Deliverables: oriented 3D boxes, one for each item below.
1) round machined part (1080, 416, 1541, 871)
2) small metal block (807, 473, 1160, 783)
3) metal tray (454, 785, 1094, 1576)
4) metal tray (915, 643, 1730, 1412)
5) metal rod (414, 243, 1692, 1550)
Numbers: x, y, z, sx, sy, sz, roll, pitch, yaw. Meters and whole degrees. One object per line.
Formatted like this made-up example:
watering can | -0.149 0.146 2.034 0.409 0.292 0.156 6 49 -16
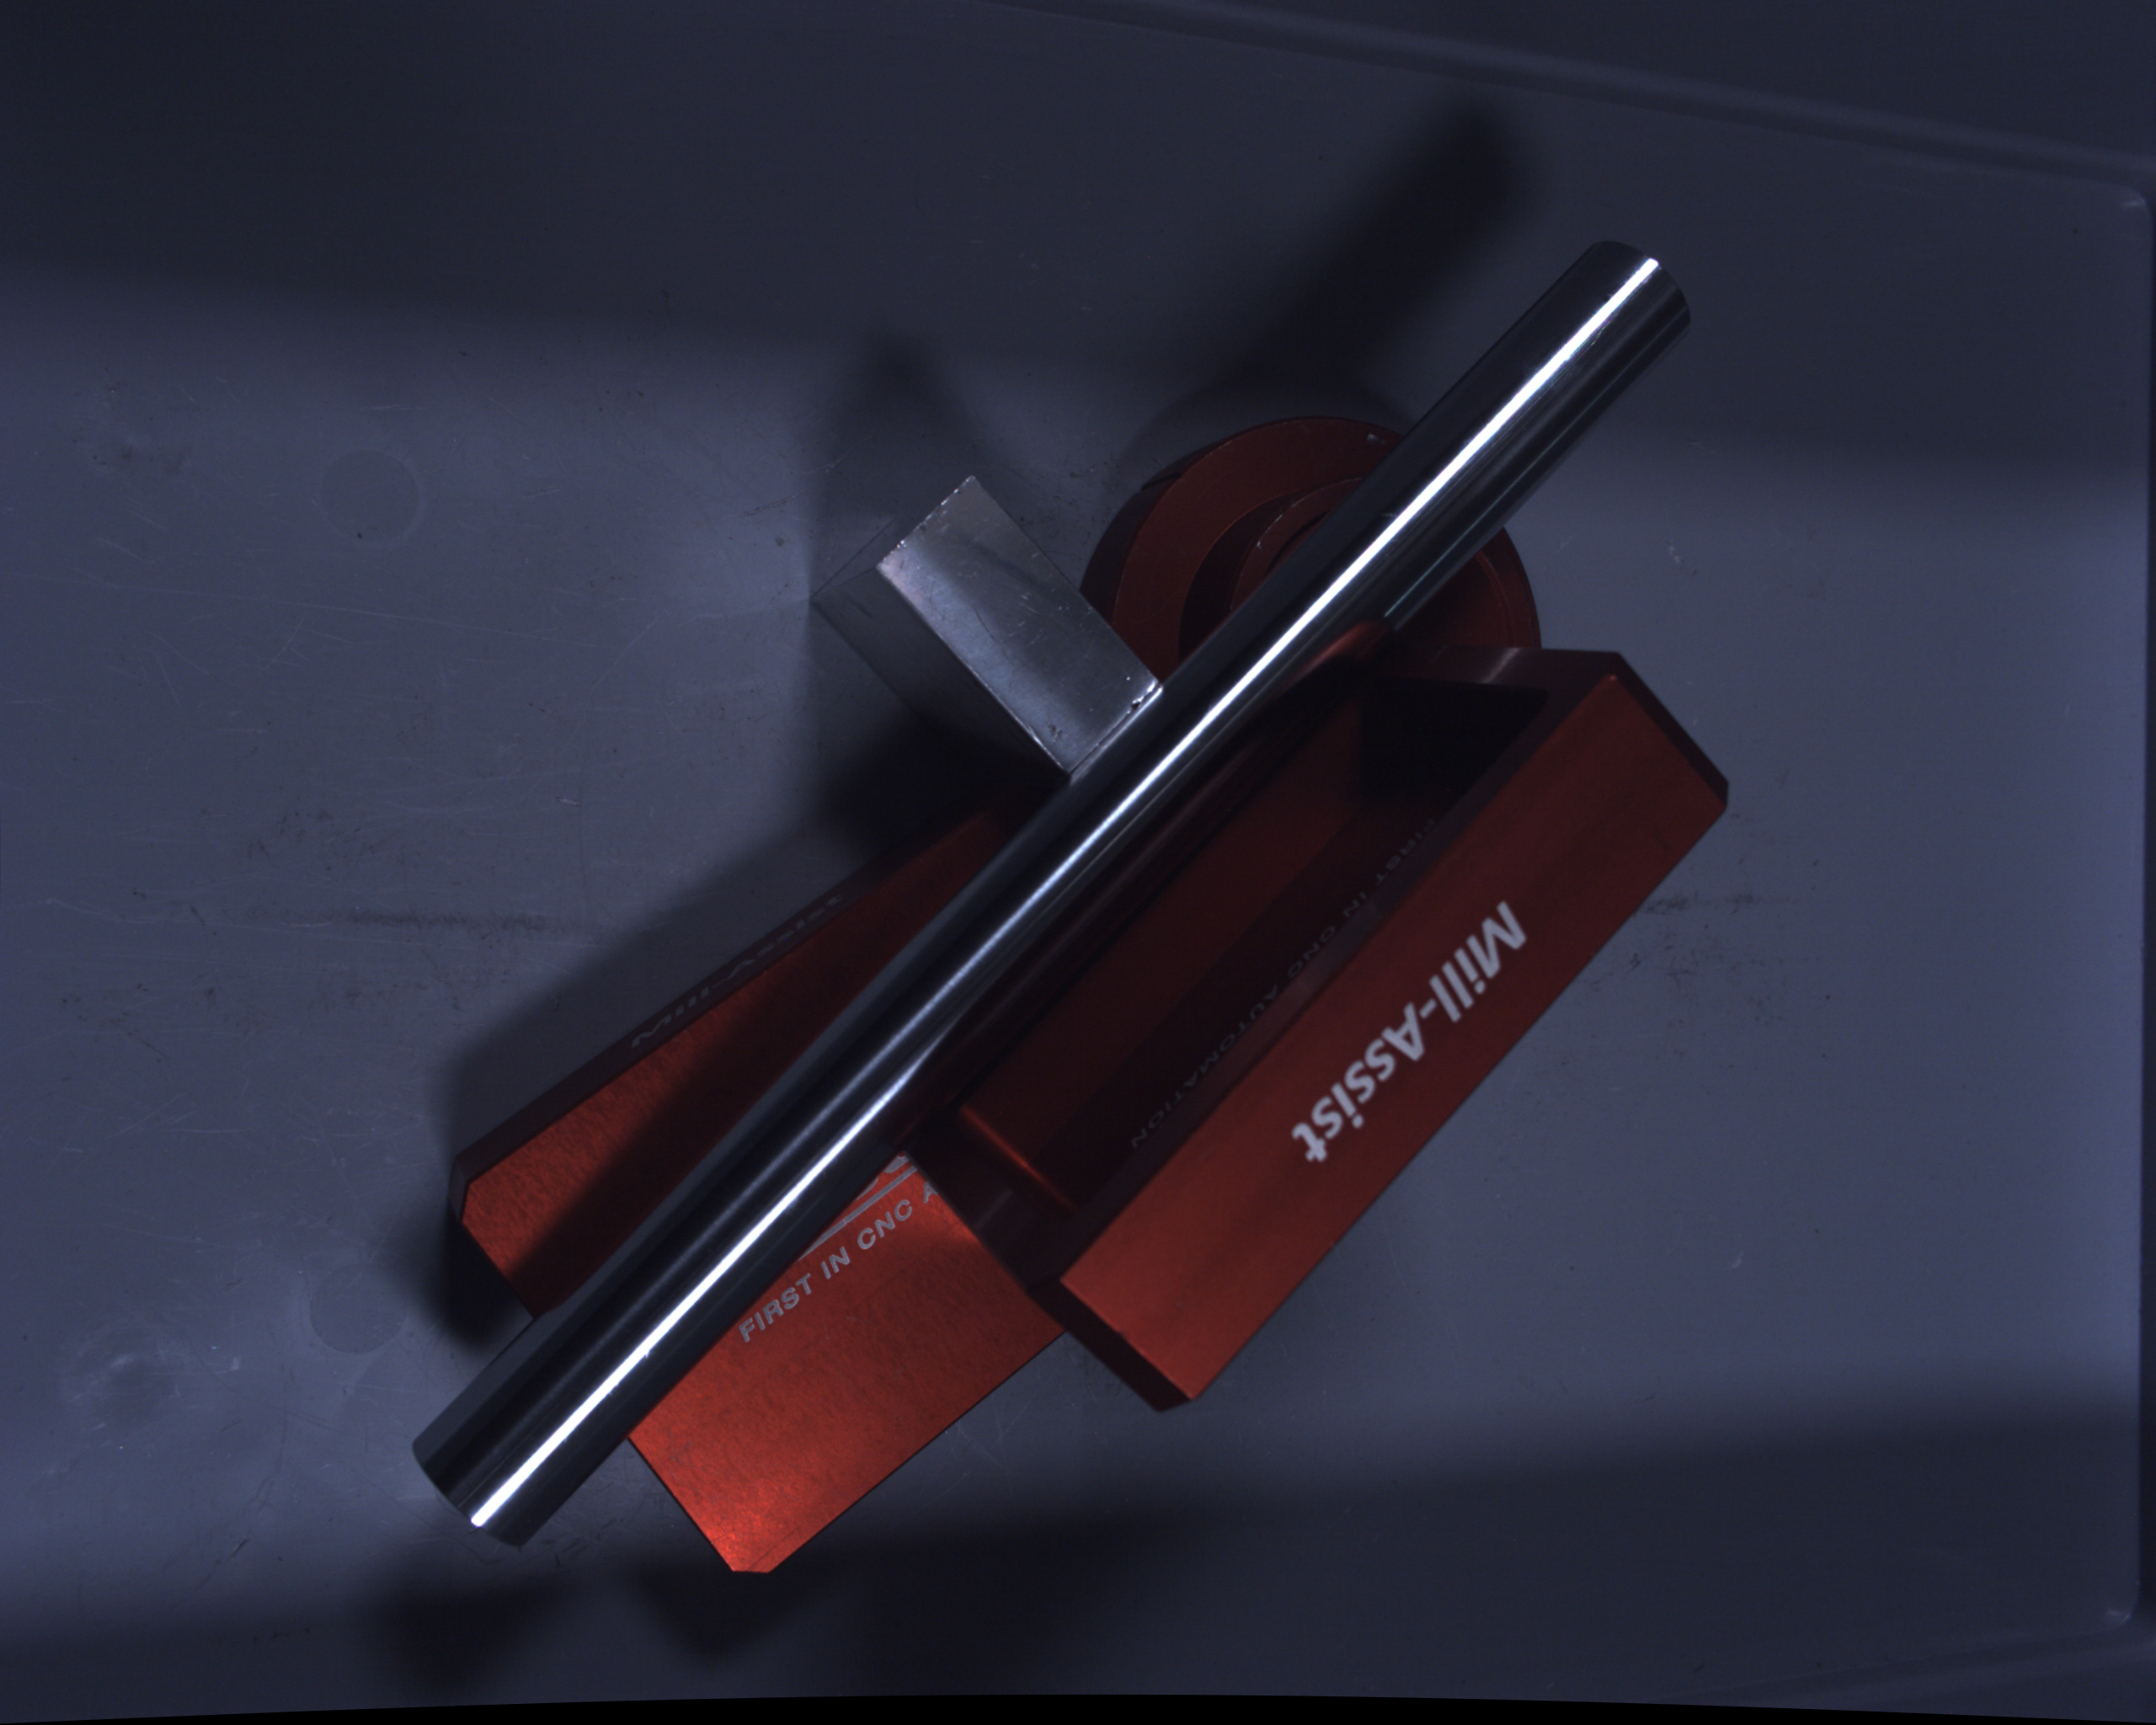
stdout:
round machined part | 0.052 -0.041 0.420 0.099 0.042 0.097 0 90 -21
small metal block | -0.019 -0.042 0.390 0.025 0.050 0.050 -47 105 -14
metal tray | -0.038 0.056 0.393 0.131 0.030 0.090 -37 102 -17
metal tray | 0.035 0.020 0.348 0.130 0.090 0.030 -46 108 -8
metal rod | 0.003 -0.002 0.370 0.300 0.025 0.025 -46 105 -10
